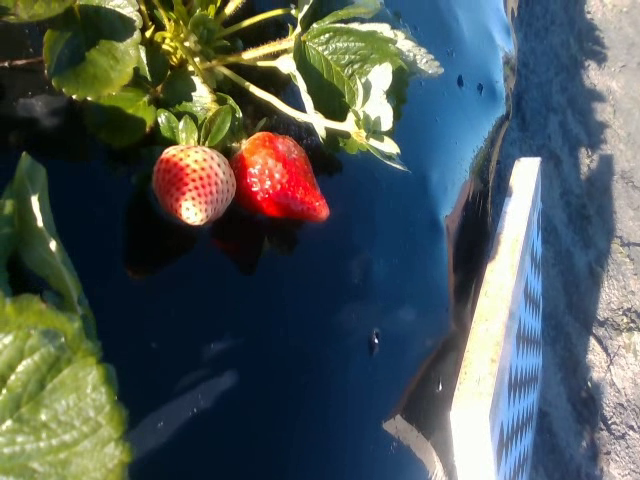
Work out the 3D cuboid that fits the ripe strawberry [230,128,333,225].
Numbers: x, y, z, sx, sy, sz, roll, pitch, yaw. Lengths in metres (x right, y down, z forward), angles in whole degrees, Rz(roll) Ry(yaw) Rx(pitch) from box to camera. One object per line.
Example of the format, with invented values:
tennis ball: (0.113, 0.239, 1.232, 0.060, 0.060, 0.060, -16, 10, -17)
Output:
ripe strawberry: (-0.010, -0.023, 0.250, 0.055, 0.040, 0.038, 31, -21, 35)
